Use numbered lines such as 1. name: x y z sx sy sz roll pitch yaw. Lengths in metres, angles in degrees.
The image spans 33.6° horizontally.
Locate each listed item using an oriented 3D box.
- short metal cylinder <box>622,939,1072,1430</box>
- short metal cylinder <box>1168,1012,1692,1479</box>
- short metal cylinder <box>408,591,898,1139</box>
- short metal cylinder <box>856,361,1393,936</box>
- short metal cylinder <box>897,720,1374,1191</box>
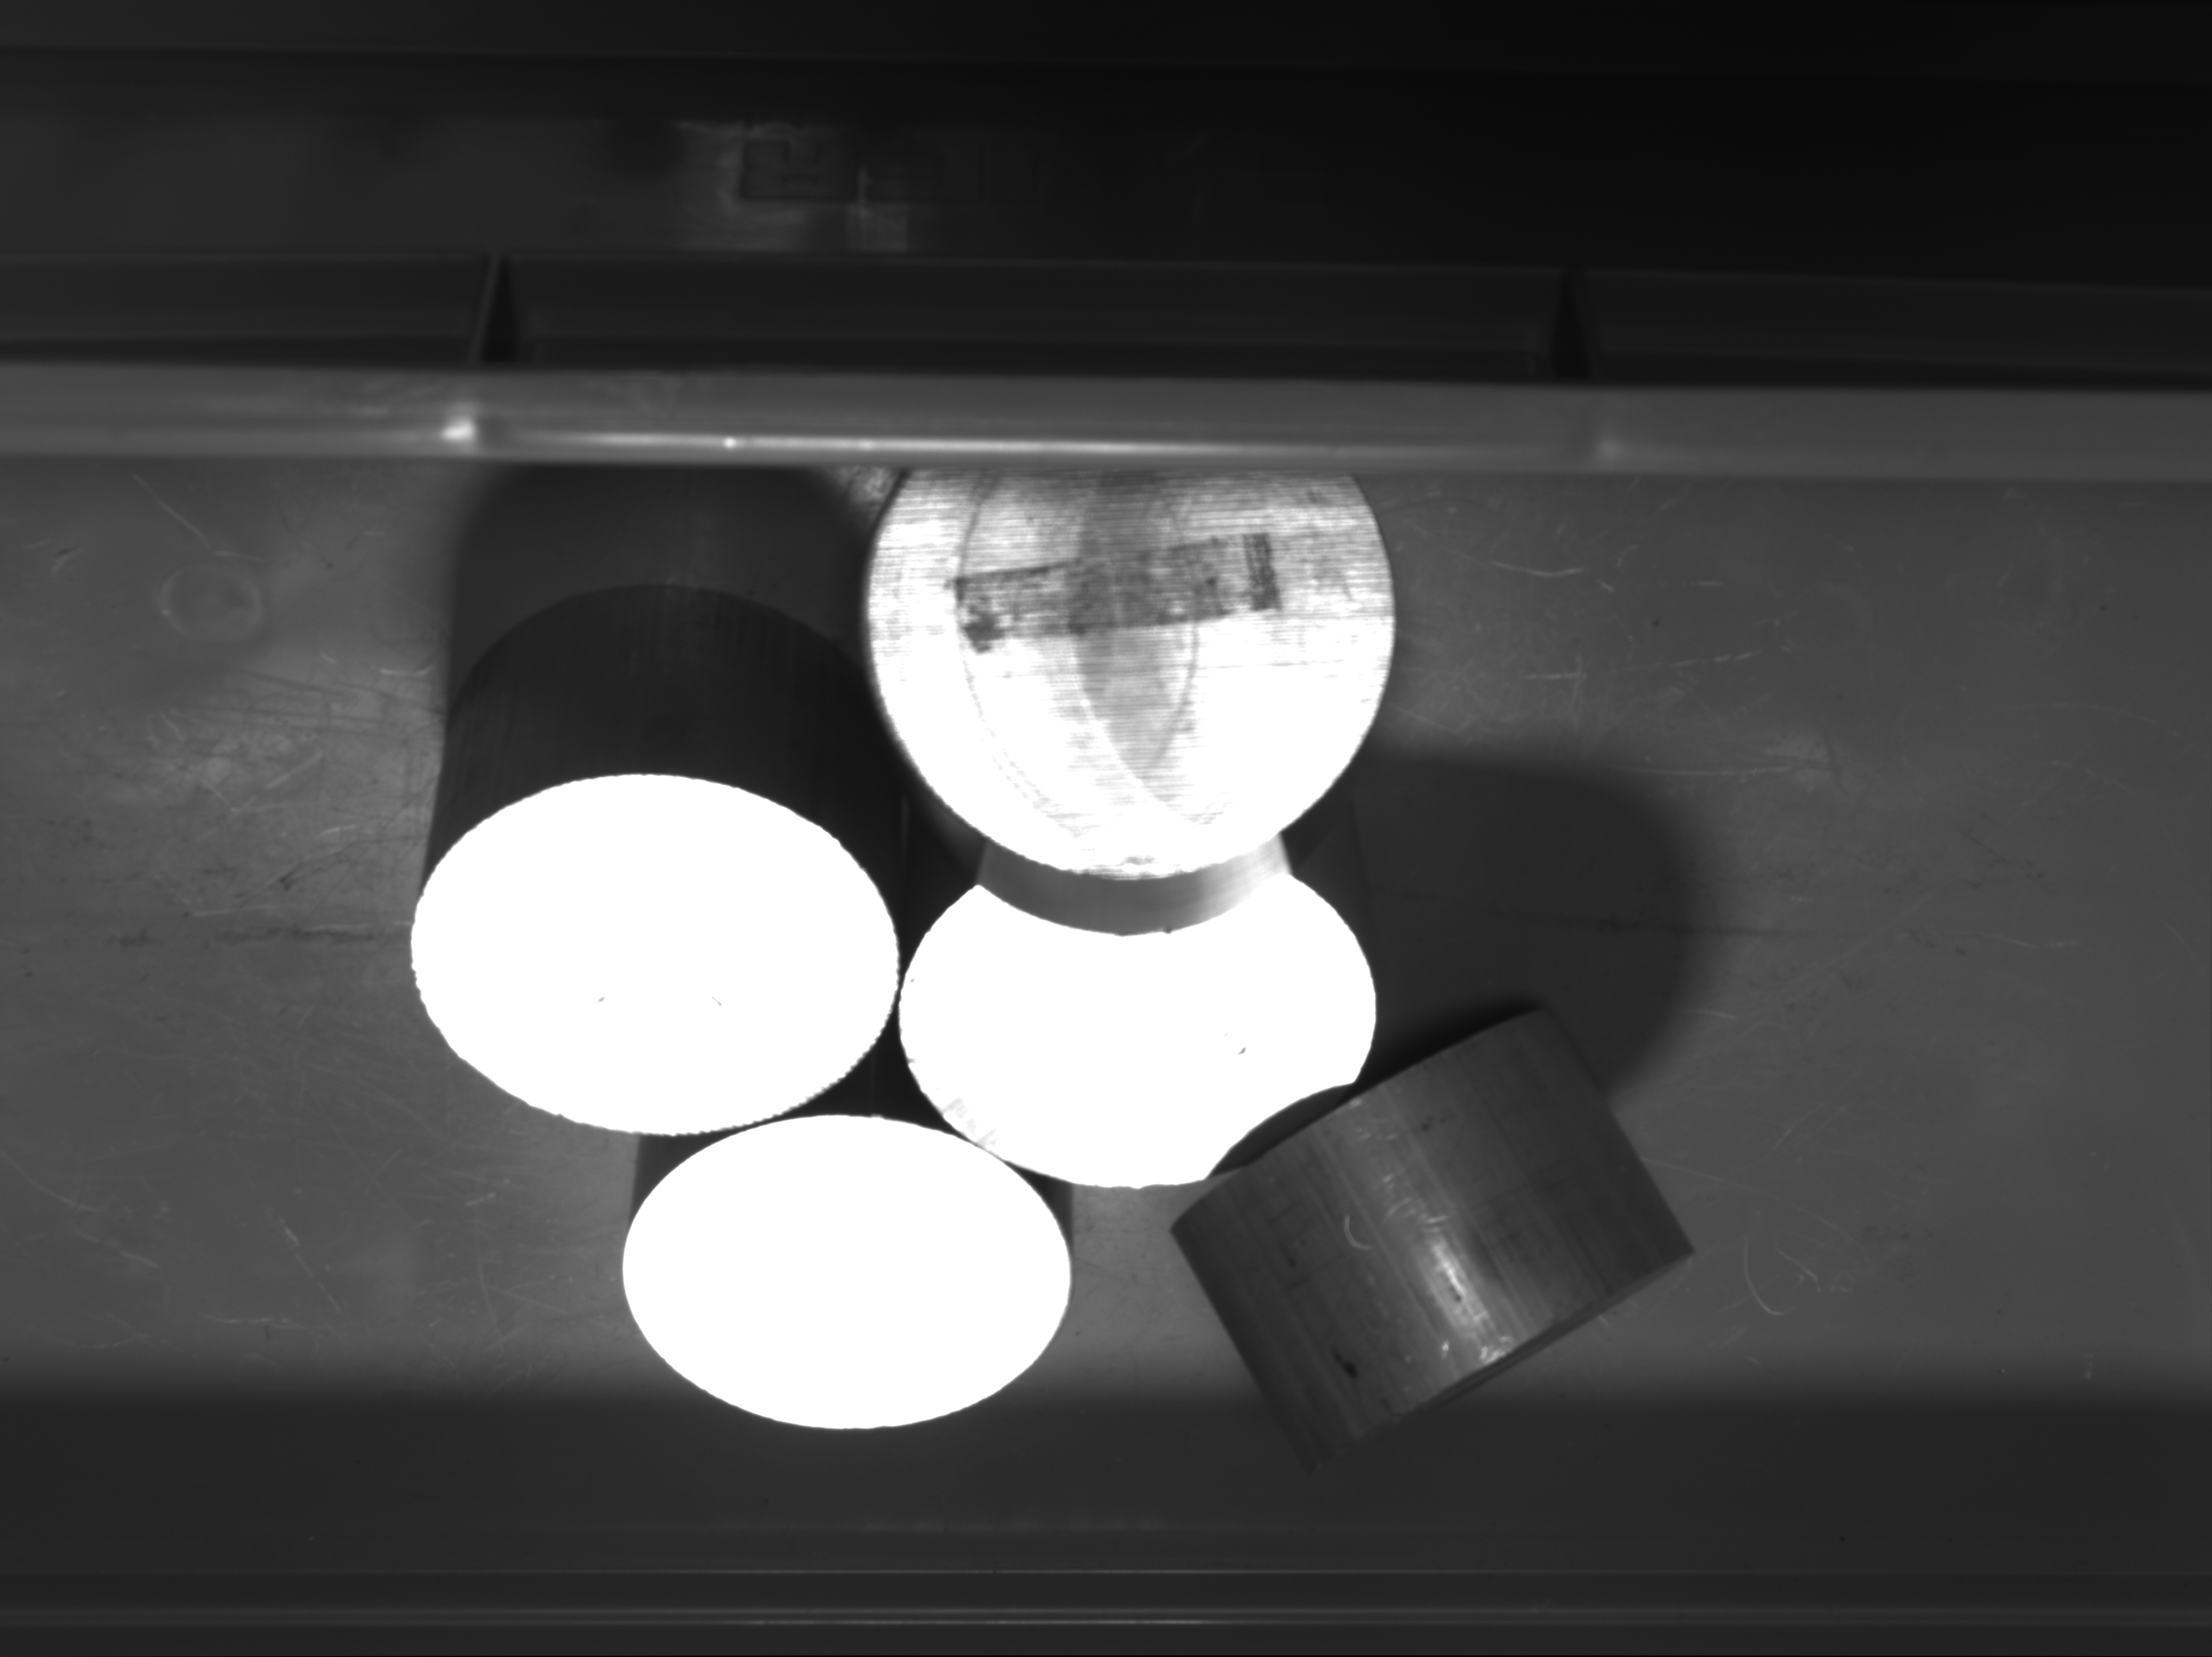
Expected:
1. short metal cylinder: -0.047 0.065 0.673 0.080 0.050 0.080 -1 130 -1
2. short metal cylinder: 0.058 0.075 0.659 0.080 0.050 0.080 -29 168 -7
3. short metal cylinder: -0.075 0.007 0.623 0.080 0.050 0.080 -1 130 -1
4. short metal cylinder: 0.003 -0.026 0.570 0.080 0.080 0.050 -2 168 0
5. short metal cylinder: 0.005 0.017 0.634 0.080 0.050 0.080 -1 130 -1
